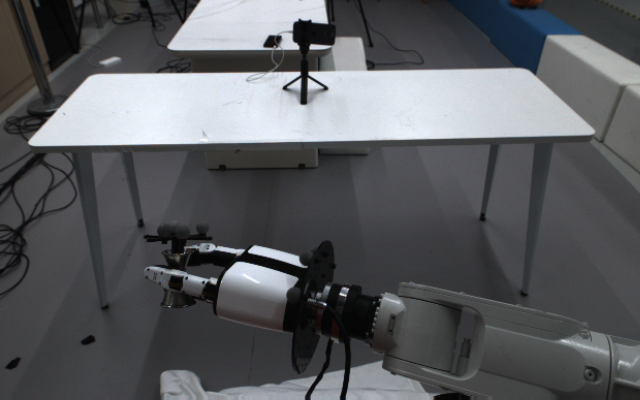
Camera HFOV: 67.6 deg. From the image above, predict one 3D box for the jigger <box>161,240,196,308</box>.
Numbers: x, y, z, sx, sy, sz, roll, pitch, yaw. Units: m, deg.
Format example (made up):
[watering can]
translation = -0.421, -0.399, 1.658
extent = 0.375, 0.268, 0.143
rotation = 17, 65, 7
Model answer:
[jigger]
translation = -0.179, 0.099, 0.619
extent = 0.043, 0.071, 0.043
rotation = 0, 3, 0
